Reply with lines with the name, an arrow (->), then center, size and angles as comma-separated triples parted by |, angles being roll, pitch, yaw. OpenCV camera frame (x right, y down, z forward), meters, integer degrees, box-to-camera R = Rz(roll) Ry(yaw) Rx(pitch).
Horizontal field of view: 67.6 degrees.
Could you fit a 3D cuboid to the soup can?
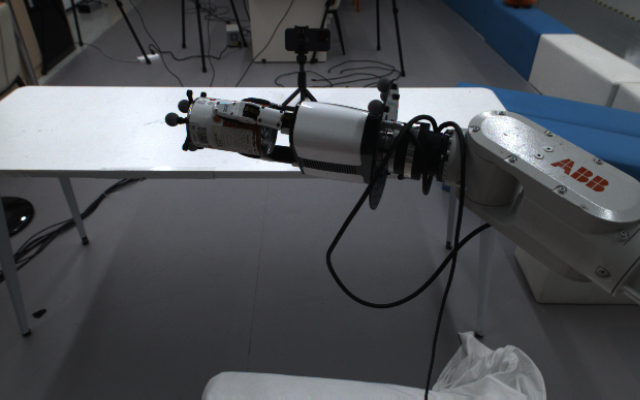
soup can -> -0.112, -0.096, 0.635 | 0.101, 0.067, 0.067 | 9, 35, 11
